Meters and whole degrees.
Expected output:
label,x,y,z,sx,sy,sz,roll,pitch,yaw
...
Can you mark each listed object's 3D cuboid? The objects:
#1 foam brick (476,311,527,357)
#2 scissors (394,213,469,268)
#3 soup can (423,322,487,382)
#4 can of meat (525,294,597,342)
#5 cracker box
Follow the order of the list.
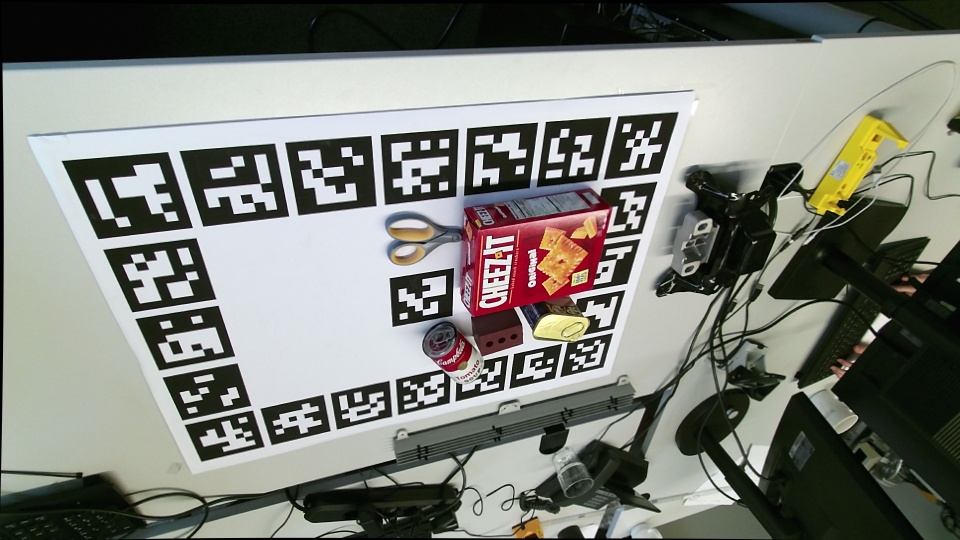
label,x,y,z,sx,sy,sz,roll,pitch,yaw
foam brick,0.038,0.107,0.924,0.078,0.051,0.053,-18,128,-11
scissors,-0.022,-0.056,0.788,0.203,0.016,0.088,-13,127,-15
soup can,-0.041,0.142,0.914,0.068,0.067,0.102,-39,135,6
can of meat,0.136,0.076,0.919,0.102,0.083,0.058,3,121,-25
cracker box,0.095,-0.028,0.819,0.214,0.072,0.164,-16,129,-17
